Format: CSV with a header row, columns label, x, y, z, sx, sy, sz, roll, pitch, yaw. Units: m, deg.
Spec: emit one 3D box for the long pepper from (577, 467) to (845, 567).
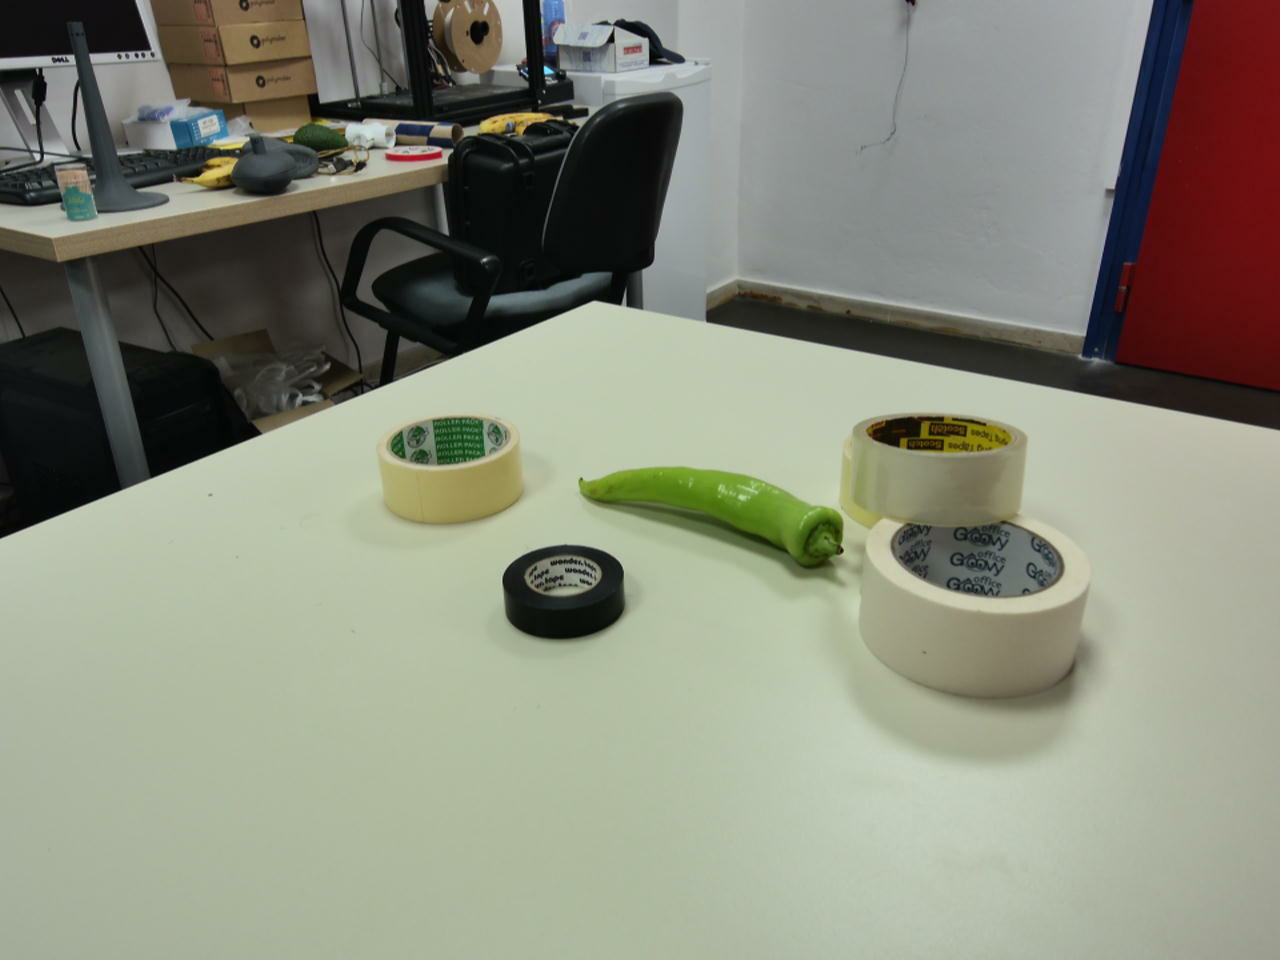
label,x,y,z,sx,sy,sz,roll,pitch,yaw
long pepper,0.043,0.011,0.612,0.197,0.038,0.046,19,31,34
